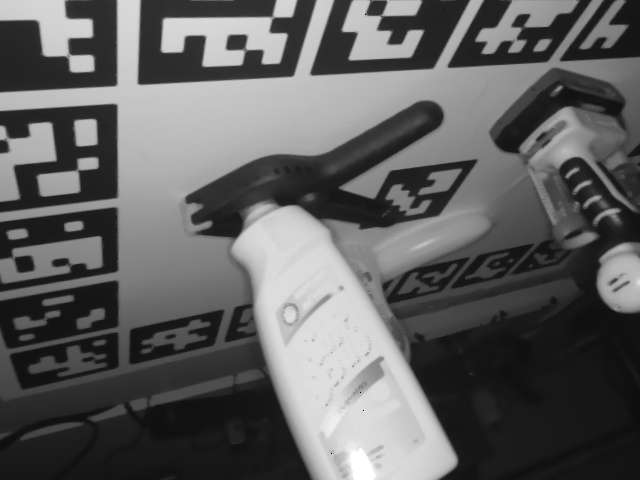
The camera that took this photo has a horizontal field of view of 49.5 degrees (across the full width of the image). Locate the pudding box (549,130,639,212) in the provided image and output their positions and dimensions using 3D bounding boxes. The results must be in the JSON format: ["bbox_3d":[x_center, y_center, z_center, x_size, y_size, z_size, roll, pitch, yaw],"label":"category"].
[{"bbox_3d":[0.296,-0.069,0.687,0.115,0.090,0.038,-7,153,-22],"label":"pudding box"}]

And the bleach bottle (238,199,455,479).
[{"bbox_3d":[-0.003,0.063,0.518,0.103,0.250,0.067,-26,154,-7],"label":"bleach bottle"}]

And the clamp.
[{"bbox_3d":[0.000,-0.036,0.571,0.204,0.037,0.163,-13,146,-13],"label":"clamp"}]

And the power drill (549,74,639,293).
[{"bbox_3d":[0.279,-0.045,0.561,0.187,0.187,0.056,-4,152,-32],"label":"power drill"}]

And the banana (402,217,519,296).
[{"bbox_3d":[0.139,0.024,0.771,0.196,0.039,0.075,-31,165,14],"label":"banana"}]

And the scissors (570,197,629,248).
[{"bbox_3d":[0.323,-0.015,0.663,0.205,0.016,0.086,11,133,-36],"label":"scissors"}]

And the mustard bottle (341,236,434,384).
[{"bbox_3d":[0.060,0.087,0.690,0.097,0.192,0.057,0,144,-30],"label":"mustard bottle"}]
